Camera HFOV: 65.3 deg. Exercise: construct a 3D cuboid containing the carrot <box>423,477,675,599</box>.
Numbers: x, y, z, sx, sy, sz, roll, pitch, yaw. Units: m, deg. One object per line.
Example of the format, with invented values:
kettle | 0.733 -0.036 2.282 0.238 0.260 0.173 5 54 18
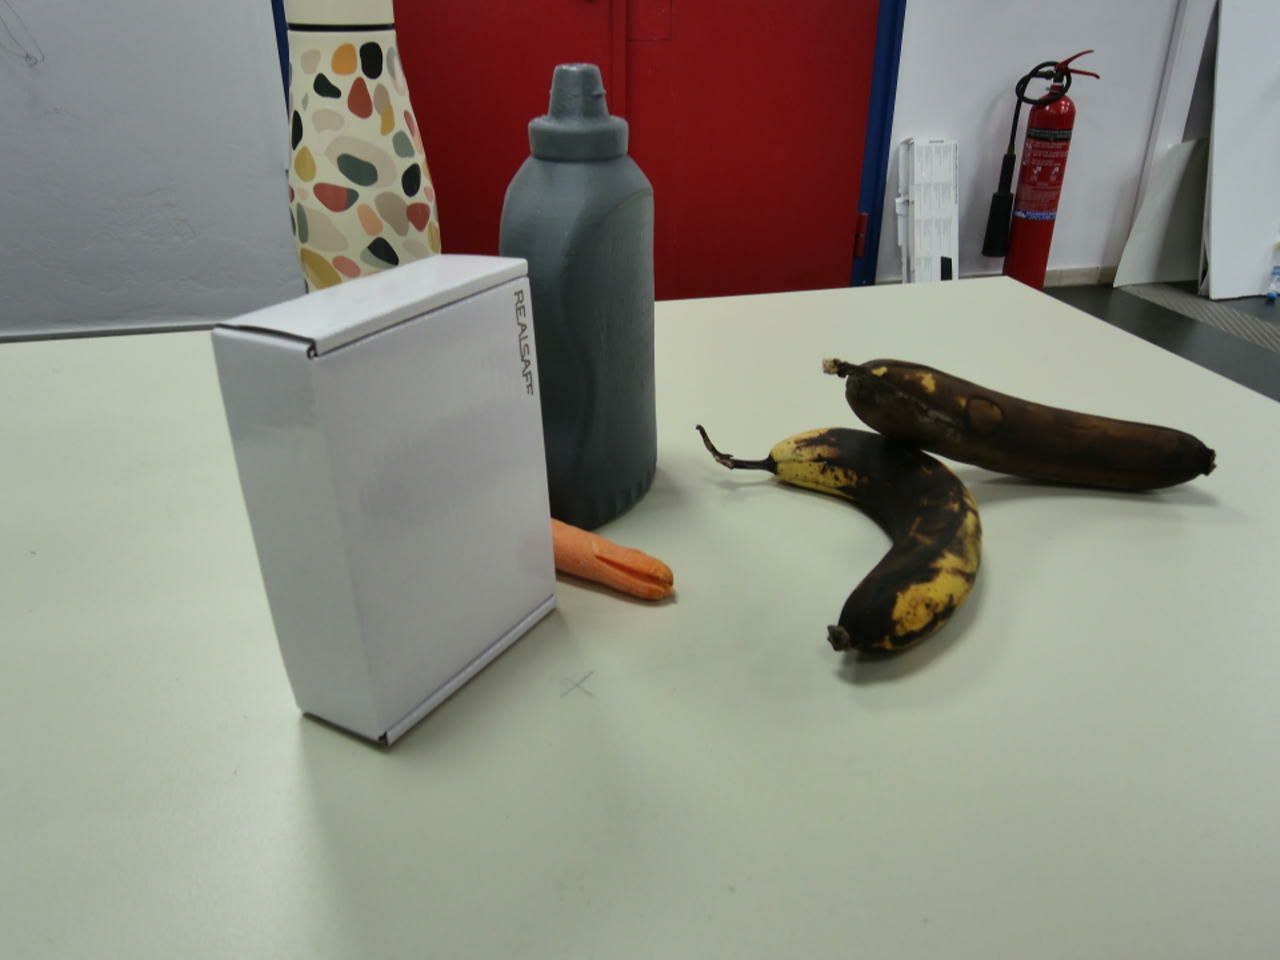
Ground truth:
carrot | -0.045 0.025 0.457 0.136 0.032 0.030 15 28 29
